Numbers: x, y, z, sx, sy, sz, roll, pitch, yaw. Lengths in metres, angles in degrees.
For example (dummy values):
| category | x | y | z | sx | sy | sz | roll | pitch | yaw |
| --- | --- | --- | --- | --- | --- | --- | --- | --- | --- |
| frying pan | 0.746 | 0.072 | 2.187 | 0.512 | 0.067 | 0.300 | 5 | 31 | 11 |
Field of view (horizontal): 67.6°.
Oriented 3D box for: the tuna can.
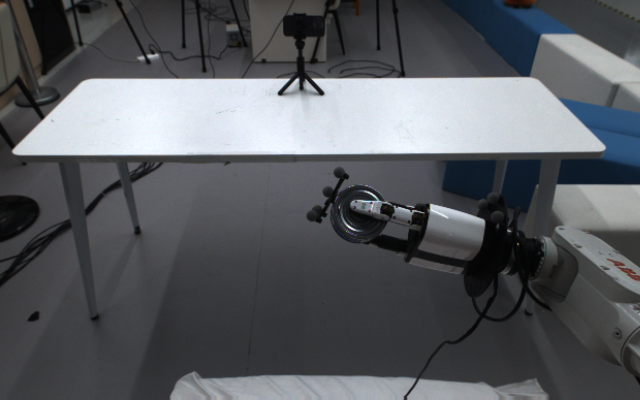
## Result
| category | x | y | z | sx | sy | sz | roll | pitch | yaw |
| --- | --- | --- | --- | --- | --- | --- | --- | --- | --- |
| tuna can | 0.062 | 0.020 | 0.724 | 0.085 | 0.034 | 0.085 | 1 | 75 | -5 |
